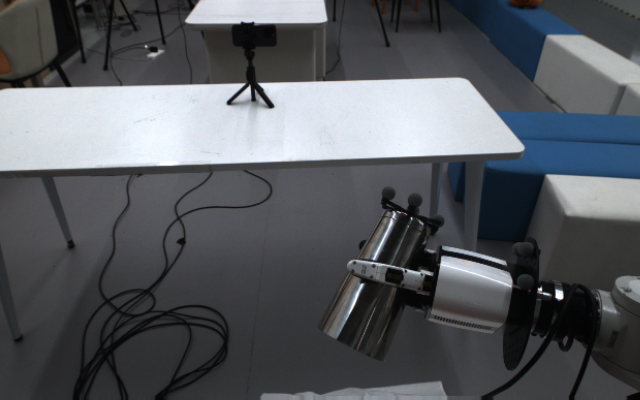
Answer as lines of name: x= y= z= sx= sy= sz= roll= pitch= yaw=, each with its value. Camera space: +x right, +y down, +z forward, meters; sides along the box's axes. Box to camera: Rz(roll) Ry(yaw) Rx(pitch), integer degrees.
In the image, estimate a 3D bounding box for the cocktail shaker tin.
cocktail shaker tin: x=0.077 y=0.099 z=0.607 sx=0.093 sy=0.093 sz=0.170 roll=21 pitch=81 yaw=25
